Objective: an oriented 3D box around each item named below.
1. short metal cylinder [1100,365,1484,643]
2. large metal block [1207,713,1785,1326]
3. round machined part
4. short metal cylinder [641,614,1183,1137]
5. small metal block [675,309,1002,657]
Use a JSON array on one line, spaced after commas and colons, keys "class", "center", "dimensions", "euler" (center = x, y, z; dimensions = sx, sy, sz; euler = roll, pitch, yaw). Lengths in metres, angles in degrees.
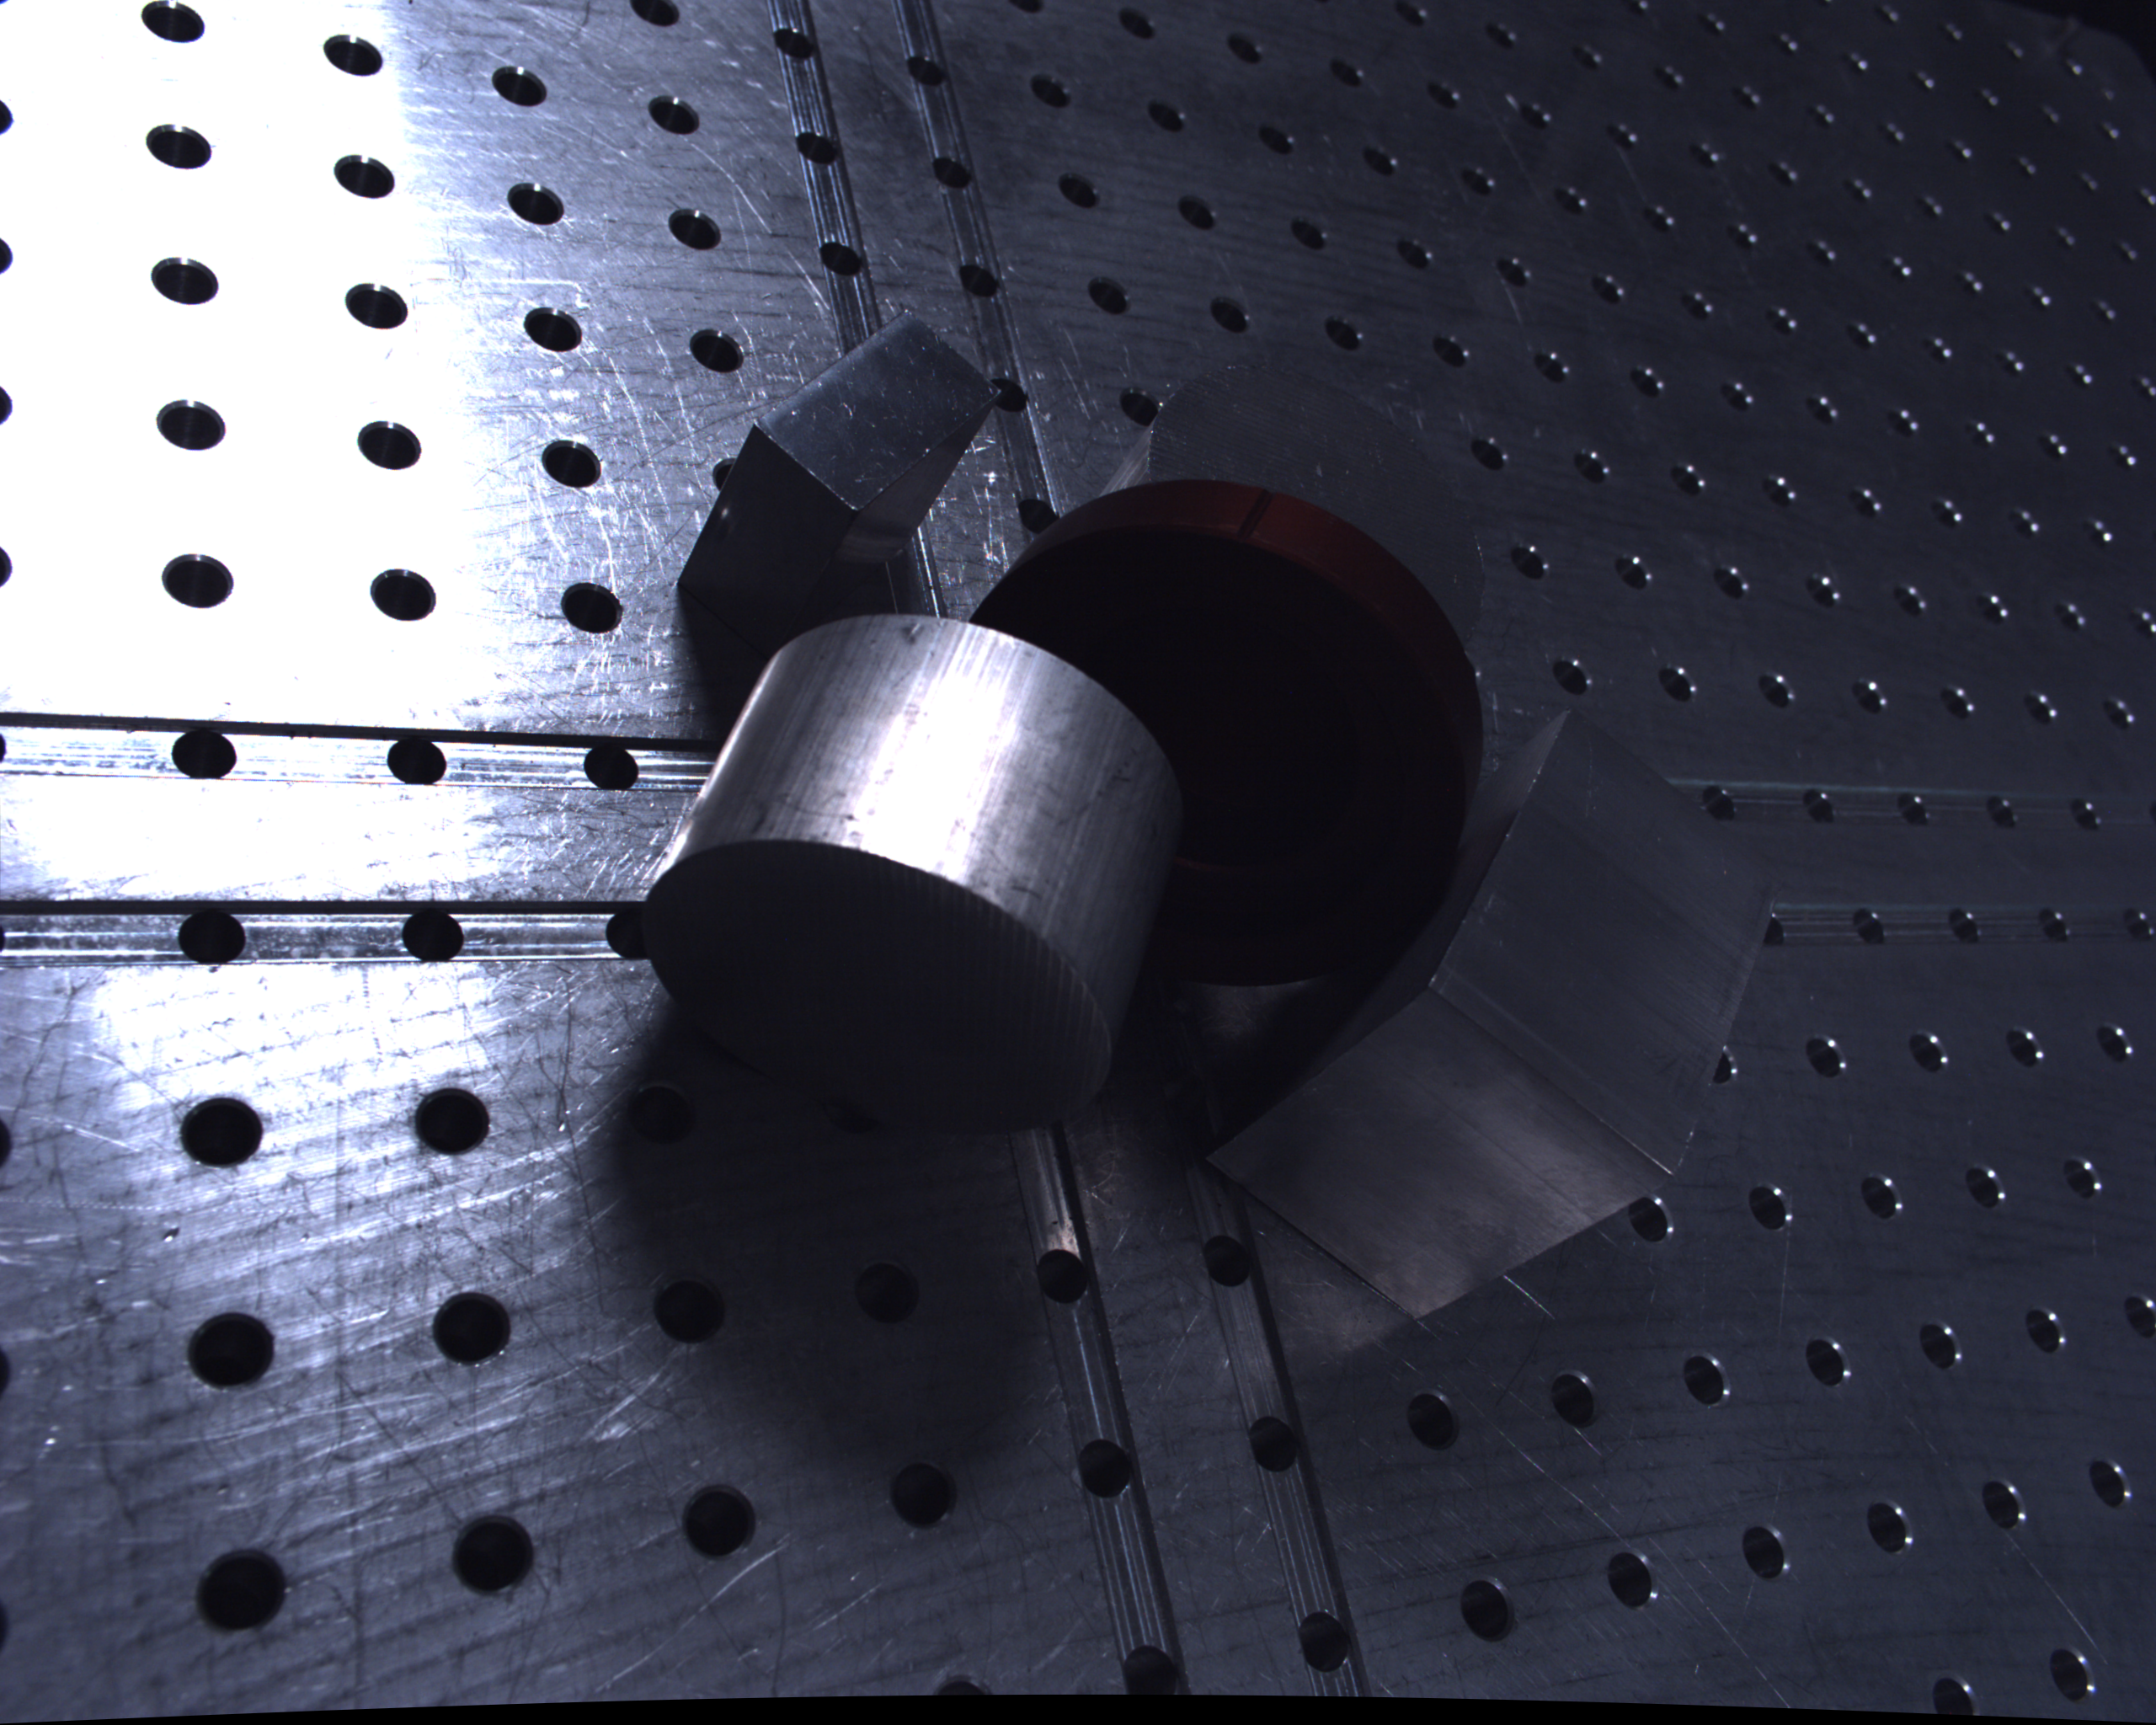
[{"class": "short metal cylinder", "center": [0.040, -0.060, 0.451], "dimensions": [0.081, 0.050, 0.080], "euler": [14, 56, -21]}, {"class": "large metal block", "center": [0.080, 0.031, 0.399], "dimensions": [0.050, 0.080, 0.080], "euler": [37, 51, -4]}, {"class": "round machined part", "center": [0.027, -0.028, 0.395], "dimensions": [0.098, 0.097, 0.042], "euler": [36, 39, -5]}, {"class": "short metal cylinder", "center": [-0.027, 0.004, 0.357], "dimensions": [0.080, 0.080, 0.050], "euler": [28, 52, -12]}, {"class": "small metal block", "center": [-0.048, -0.074, 0.413], "dimensions": [0.025, 0.050, 0.050], "euler": [41, 51, -1]}]
